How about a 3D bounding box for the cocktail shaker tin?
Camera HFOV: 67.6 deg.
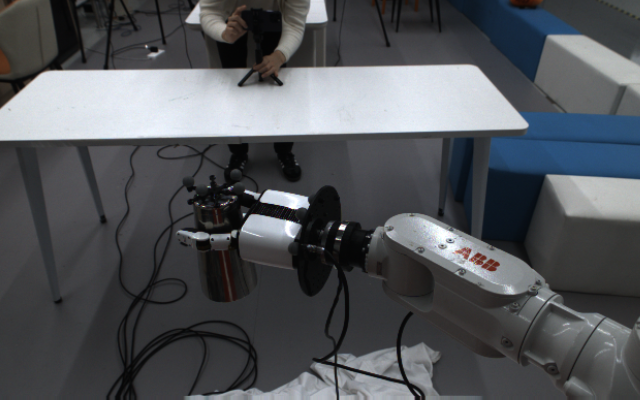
[{"bbox_3d":[-0.148,0.062,0.754,0.093,0.170,0.093,-1,33,1],"label":"cocktail shaker tin"}]
